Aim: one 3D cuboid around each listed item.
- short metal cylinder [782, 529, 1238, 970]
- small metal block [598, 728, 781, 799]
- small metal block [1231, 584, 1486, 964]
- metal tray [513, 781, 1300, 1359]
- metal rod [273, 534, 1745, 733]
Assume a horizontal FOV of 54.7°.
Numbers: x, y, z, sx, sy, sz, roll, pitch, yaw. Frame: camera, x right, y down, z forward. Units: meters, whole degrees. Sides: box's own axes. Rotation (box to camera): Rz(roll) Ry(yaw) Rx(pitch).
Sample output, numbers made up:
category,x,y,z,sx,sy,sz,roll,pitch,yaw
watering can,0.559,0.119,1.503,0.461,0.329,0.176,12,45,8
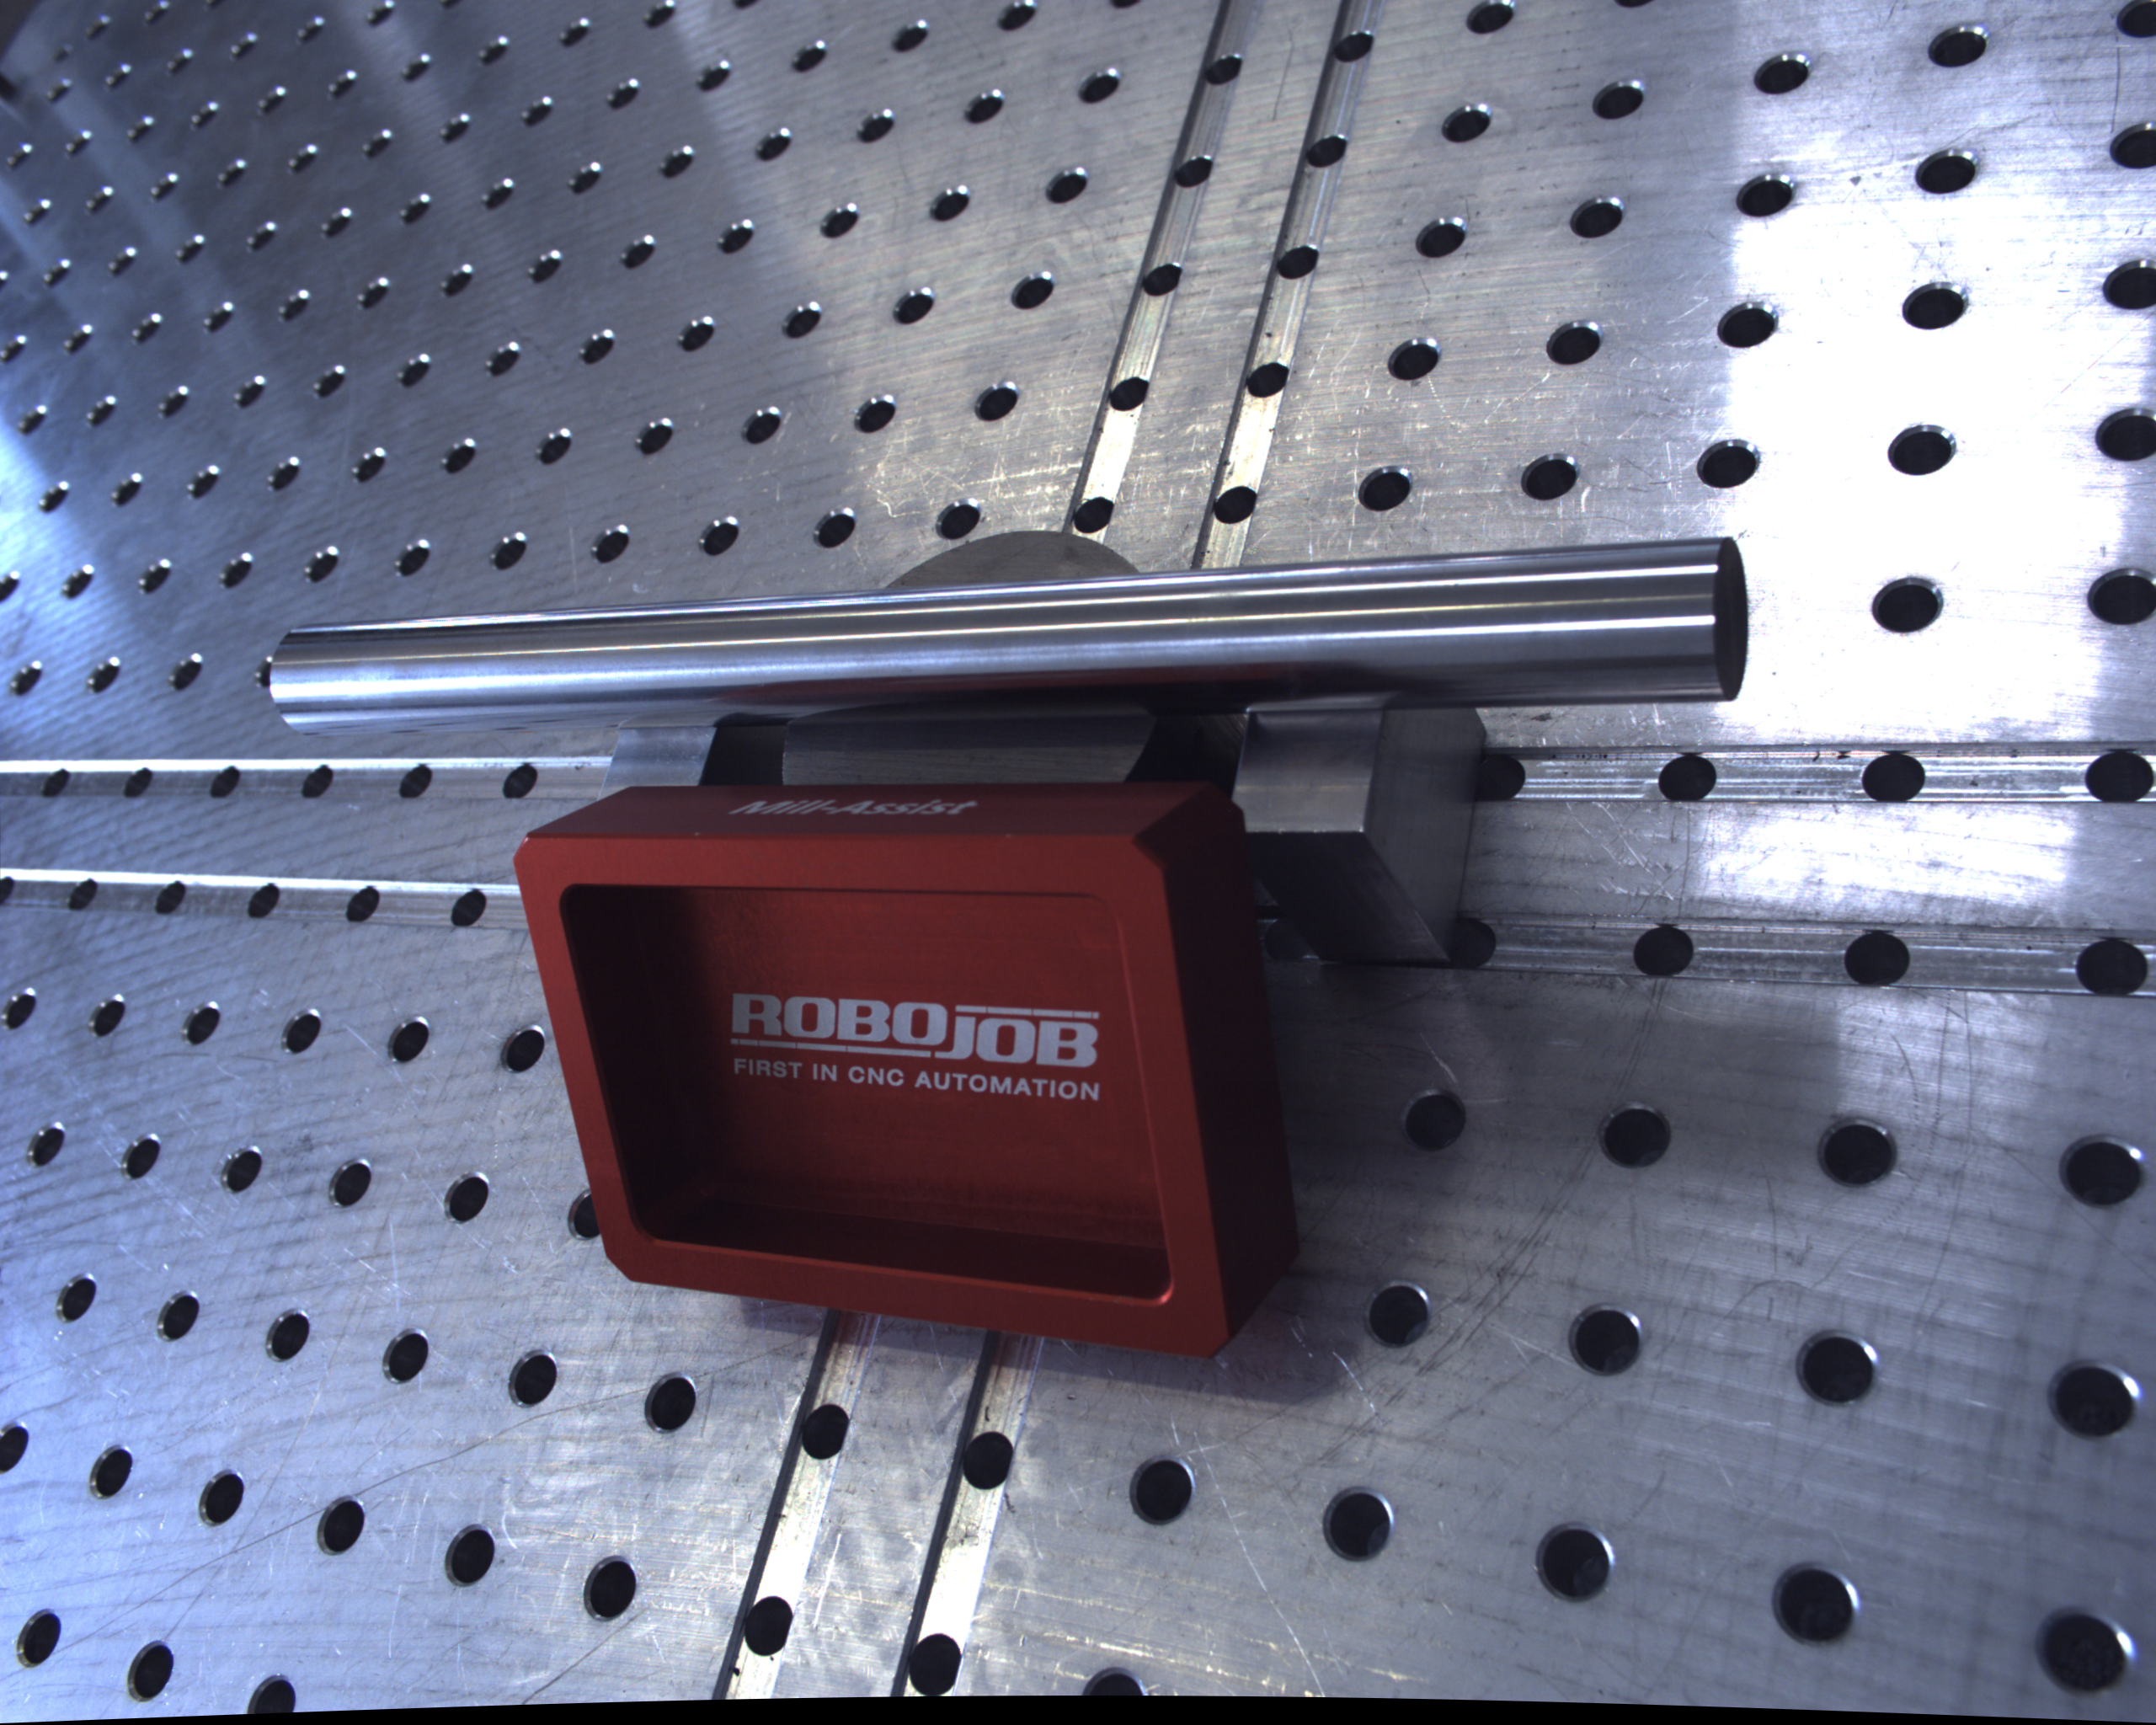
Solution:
category,x,y,z,sx,sy,sz,roll,pitch,yaw
short metal cylinder,-0.010,-0.018,0.408,0.080,0.050,0.080,-13,56,21
small metal block,-0.071,-0.018,0.441,0.025,0.050,0.050,-1,61,28
small metal block,0.051,-0.015,0.375,0.025,0.050,0.050,-1,61,28
metal tray,-0.032,0.033,0.366,0.130,0.089,0.030,1,19,28
metal rod,-0.034,-0.039,0.386,0.300,0.025,0.025,1,62,29
